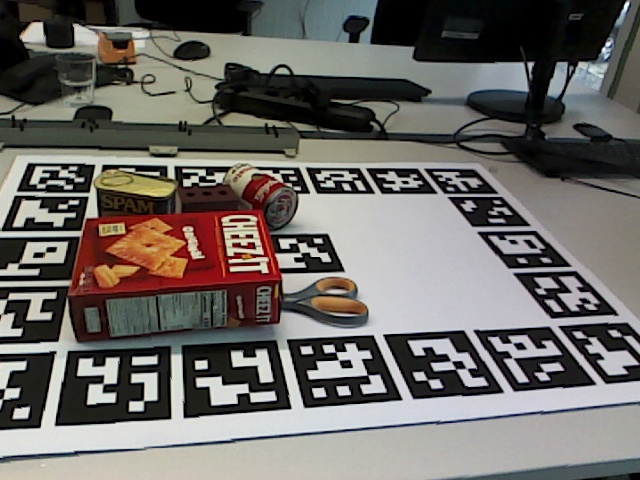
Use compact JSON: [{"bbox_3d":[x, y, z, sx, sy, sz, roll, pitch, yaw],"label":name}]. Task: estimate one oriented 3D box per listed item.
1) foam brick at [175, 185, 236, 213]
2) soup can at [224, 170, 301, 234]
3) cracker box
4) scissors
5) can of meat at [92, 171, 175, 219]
[{"bbox_3d":[-0.163,-0.042,0.883,0.078,0.051,0.053,-7,36,-22],"label":"foam brick"},{"bbox_3d":[-0.088,-0.058,0.923,0.103,0.068,0.067,25,36,34],"label":"soup can"},{"bbox_3d":[-0.167,0.032,0.718,0.213,0.072,0.165,-7,34,-15],"label":"cracker box"},{"bbox_3d":[-0.052,0.077,0.732,0.202,0.016,0.088,-3,35,-17],"label":"scissors"},{"bbox_3d":[-0.247,-0.039,0.825,0.102,0.083,0.058,8,33,-2],"label":"can of meat"}]
